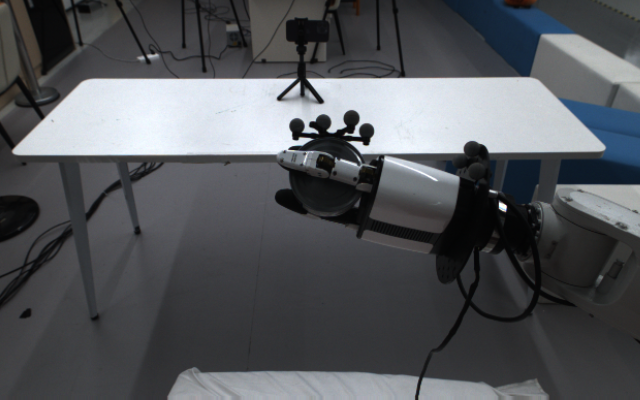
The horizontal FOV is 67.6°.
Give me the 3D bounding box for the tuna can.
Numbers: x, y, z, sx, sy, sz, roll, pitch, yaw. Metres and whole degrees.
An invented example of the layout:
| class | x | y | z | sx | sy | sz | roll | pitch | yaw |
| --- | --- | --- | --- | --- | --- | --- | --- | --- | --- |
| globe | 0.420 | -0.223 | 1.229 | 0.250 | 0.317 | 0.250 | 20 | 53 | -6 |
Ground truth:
| class | x | y | z | sx | sy | sz | roll | pitch | yaw |
| --- | --- | --- | --- | --- | --- | --- | --- | --- | --- |
| tuna can | 0.012 | -0.021 | 0.538 | 0.085 | 0.034 | 0.085 | 0 | 77 | 0 |
